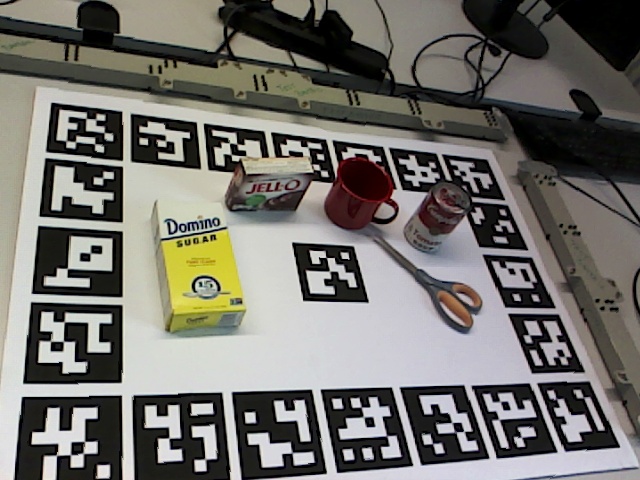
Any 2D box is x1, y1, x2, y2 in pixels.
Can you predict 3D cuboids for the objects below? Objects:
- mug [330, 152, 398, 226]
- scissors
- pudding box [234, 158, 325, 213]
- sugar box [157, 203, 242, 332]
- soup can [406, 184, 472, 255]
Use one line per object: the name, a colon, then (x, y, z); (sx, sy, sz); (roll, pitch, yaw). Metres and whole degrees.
mug: (0.073, -0.069, 0.974); (0.117, 0.081, 0.093); (45, 53, 14)
scissors: (0.171, 0.065, 0.956); (0.203, 0.016, 0.087); (42, 59, 9)
pudding box: (-0.062, -0.082, 0.915); (0.113, 0.090, 0.039); (-5, 64, -27)
sugar box: (-0.162, 0.033, 0.824); (0.092, 0.045, 0.177); (0, 57, -21)
soup can: (0.188, -0.031, 0.992); (0.067, 0.102, 0.068); (11, 51, -14)
